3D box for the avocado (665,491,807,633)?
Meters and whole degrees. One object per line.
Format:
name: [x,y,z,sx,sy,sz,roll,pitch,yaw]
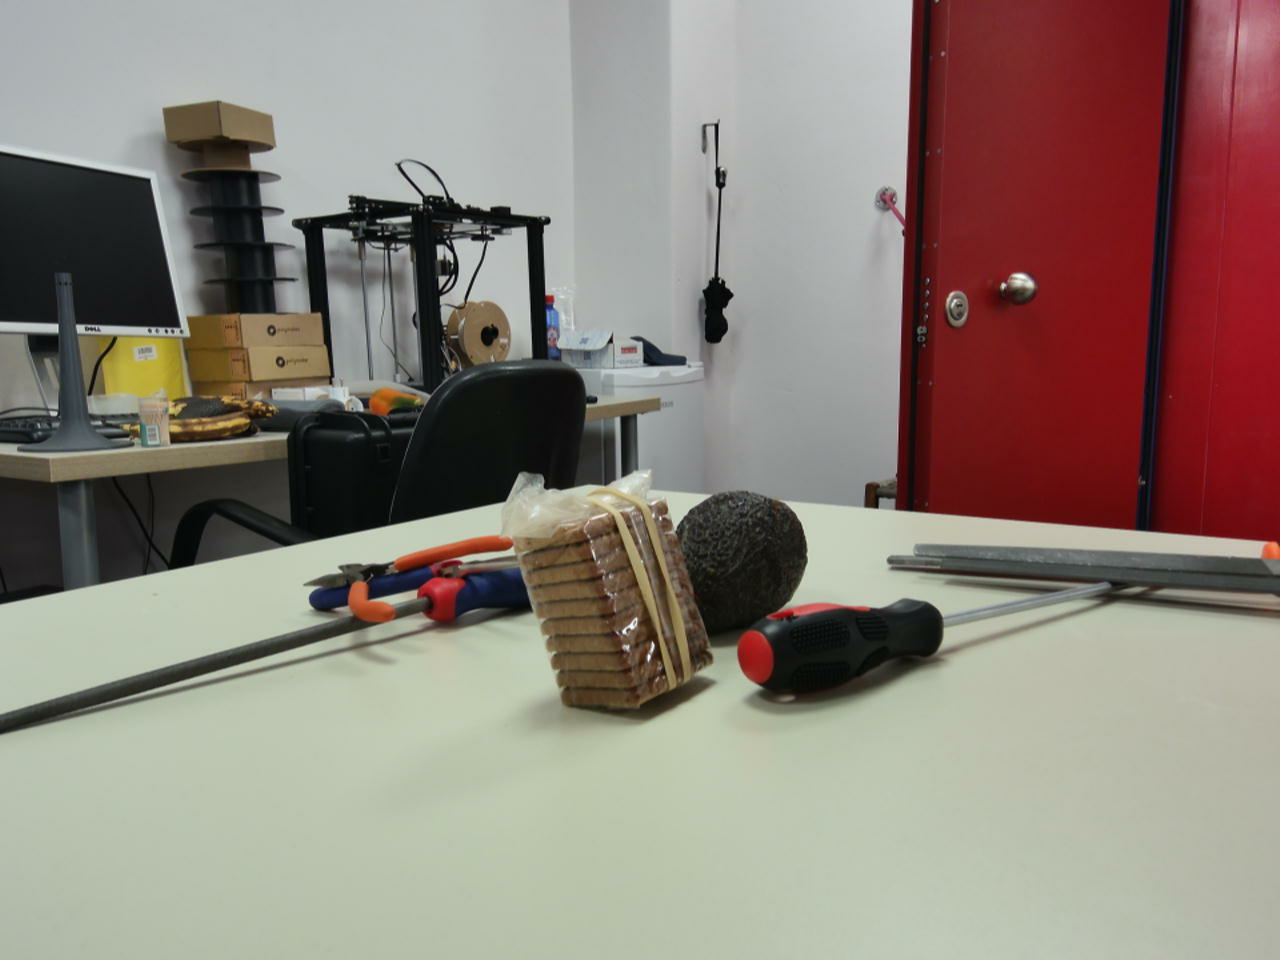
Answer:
avocado: [0.047,0.041,0.526,0.090,0.069,0.070,-3,6,-29]
